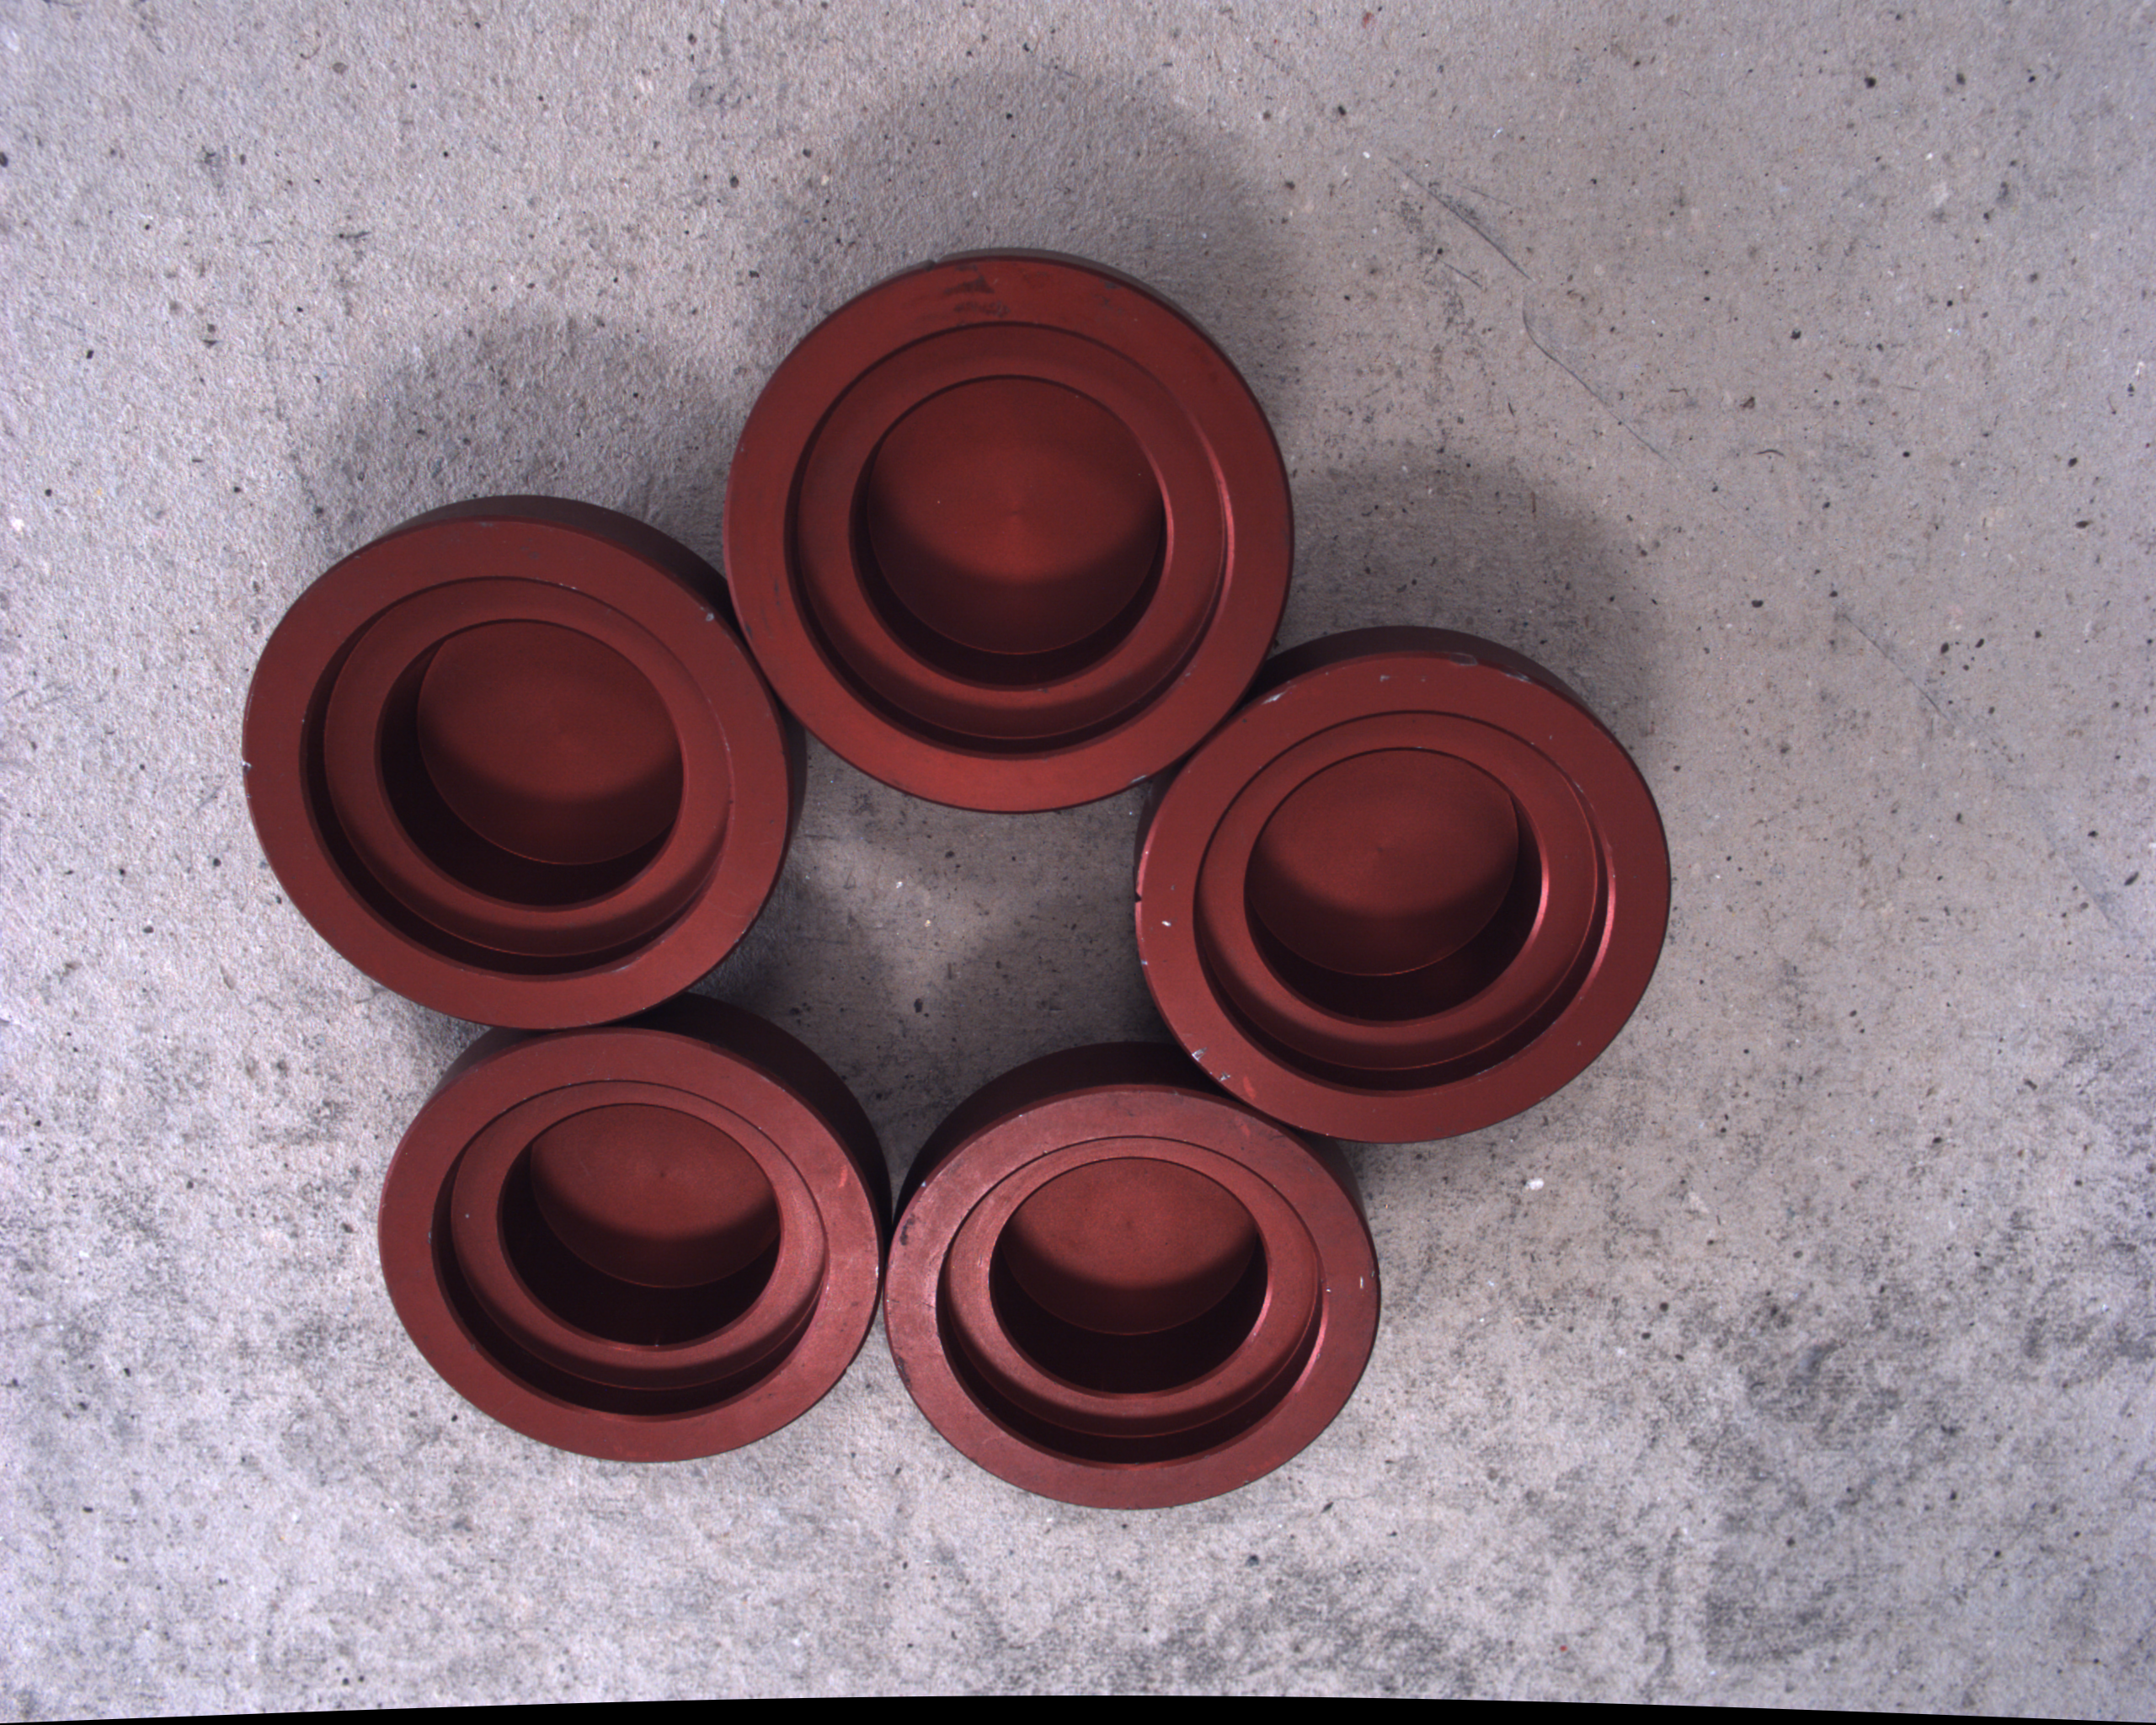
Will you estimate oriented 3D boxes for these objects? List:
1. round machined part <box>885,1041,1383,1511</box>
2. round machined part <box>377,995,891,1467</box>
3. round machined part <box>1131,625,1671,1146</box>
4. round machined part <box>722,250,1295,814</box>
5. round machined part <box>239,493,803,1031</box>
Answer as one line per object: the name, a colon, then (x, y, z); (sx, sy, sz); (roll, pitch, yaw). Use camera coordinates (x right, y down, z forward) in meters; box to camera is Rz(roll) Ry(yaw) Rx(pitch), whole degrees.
round machined part: (0.011, 0.081, 0.432); (0.099, 0.042, 0.097); (-1, 110, -1)
round machined part: (-0.087, 0.070, 0.426); (0.099, 0.042, 0.097); (-1, 109, -1)
round machined part: (0.059, 0.002, 0.402); (0.099, 0.042, 0.097); (-1, 109, -1)
round machined part: (-0.012, -0.061, 0.378); (0.099, 0.042, 0.097); (-1, 109, -1)
round machined part: (-0.101, -0.021, 0.393); (0.099, 0.042, 0.097); (0, 109, -1)
